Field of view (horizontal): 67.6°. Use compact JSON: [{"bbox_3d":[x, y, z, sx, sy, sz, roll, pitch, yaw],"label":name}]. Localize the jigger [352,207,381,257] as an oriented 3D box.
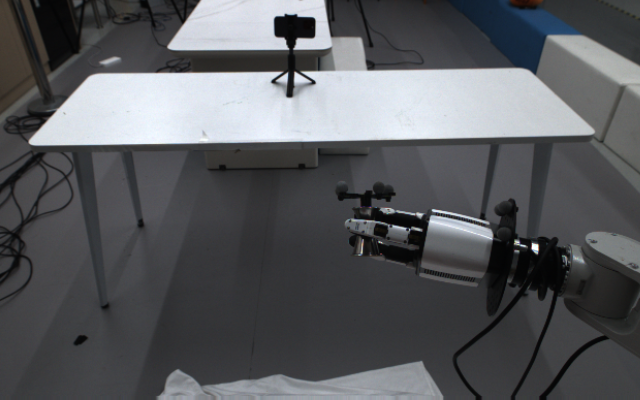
[{"bbox_3d":[0.064,0.044,0.684,0.043,0.071,0.043,1,-5,0],"label":"jigger"}]
